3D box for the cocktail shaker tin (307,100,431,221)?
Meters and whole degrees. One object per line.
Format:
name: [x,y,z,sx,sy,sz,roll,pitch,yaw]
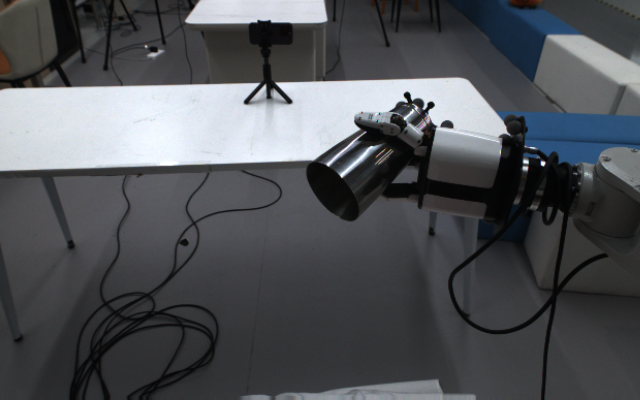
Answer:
cocktail shaker tin: [0.073,-0.062,0.644,0.170,0.093,0.093,-39,50,-24]
